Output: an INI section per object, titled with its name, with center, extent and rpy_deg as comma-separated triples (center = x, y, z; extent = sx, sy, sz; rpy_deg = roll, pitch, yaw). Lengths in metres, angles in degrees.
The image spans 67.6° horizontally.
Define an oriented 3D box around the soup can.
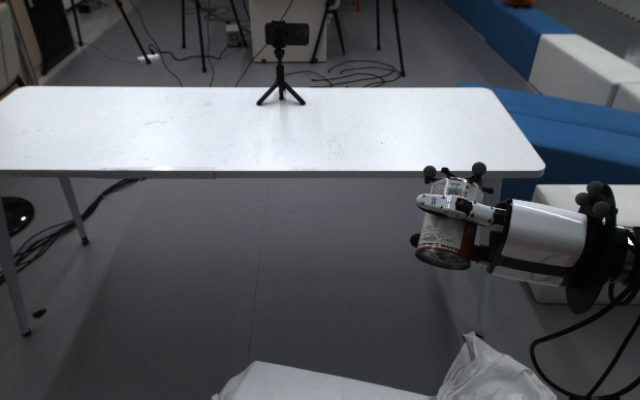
[soup can]
center = 0.165, 0.027, 0.615
extent = 0.067, 0.067, 0.101
rpy_deg = 12, 71, 14
